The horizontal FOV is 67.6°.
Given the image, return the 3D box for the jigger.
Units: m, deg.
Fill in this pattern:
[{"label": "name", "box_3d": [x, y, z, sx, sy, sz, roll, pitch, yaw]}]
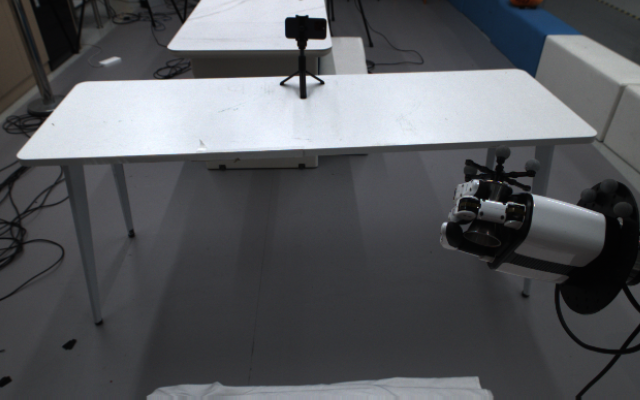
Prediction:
[{"label": "jigger", "box_3d": [0.201, 0.014, 0.572, 0.043, 0.043, 0.071, 15, 70, 18]}]
